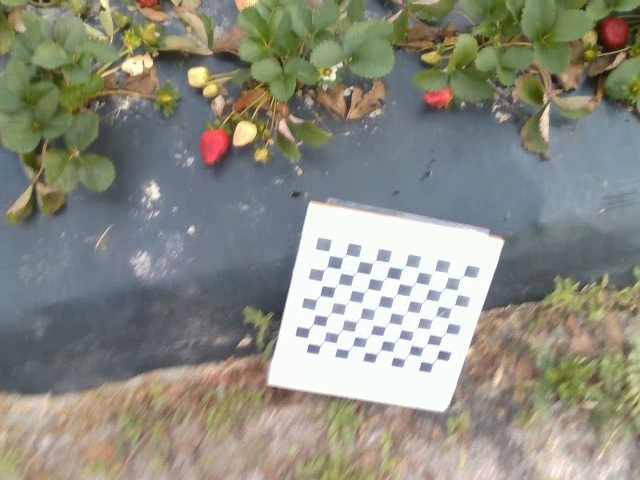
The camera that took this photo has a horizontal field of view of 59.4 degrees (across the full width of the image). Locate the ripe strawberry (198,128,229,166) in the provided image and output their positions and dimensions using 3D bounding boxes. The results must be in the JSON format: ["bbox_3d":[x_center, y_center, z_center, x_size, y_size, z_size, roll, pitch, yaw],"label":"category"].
[{"bbox_3d":[-0.151,-0.133,0.788,0.050,0.059,0.034,0,-28,0],"label":"ripe strawberry"}]
